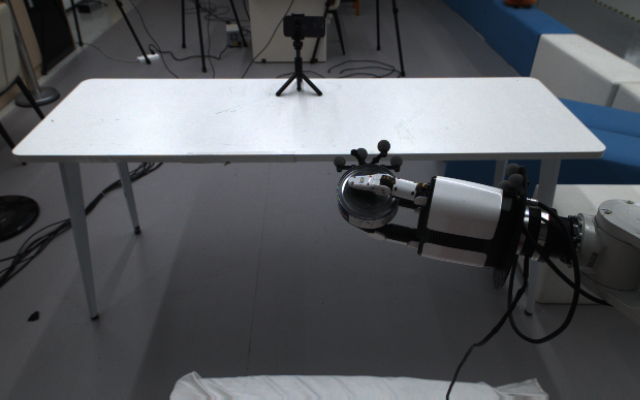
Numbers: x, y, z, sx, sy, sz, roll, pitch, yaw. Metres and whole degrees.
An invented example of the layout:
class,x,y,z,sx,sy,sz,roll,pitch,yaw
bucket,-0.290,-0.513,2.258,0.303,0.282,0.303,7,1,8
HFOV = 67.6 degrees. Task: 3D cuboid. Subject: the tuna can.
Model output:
class,x,y,z,sx,sy,sz,roll,pitch,yaw
tuna can,0.066,-0.005,0.655,0.085,0.034,0.085,-2,58,2
